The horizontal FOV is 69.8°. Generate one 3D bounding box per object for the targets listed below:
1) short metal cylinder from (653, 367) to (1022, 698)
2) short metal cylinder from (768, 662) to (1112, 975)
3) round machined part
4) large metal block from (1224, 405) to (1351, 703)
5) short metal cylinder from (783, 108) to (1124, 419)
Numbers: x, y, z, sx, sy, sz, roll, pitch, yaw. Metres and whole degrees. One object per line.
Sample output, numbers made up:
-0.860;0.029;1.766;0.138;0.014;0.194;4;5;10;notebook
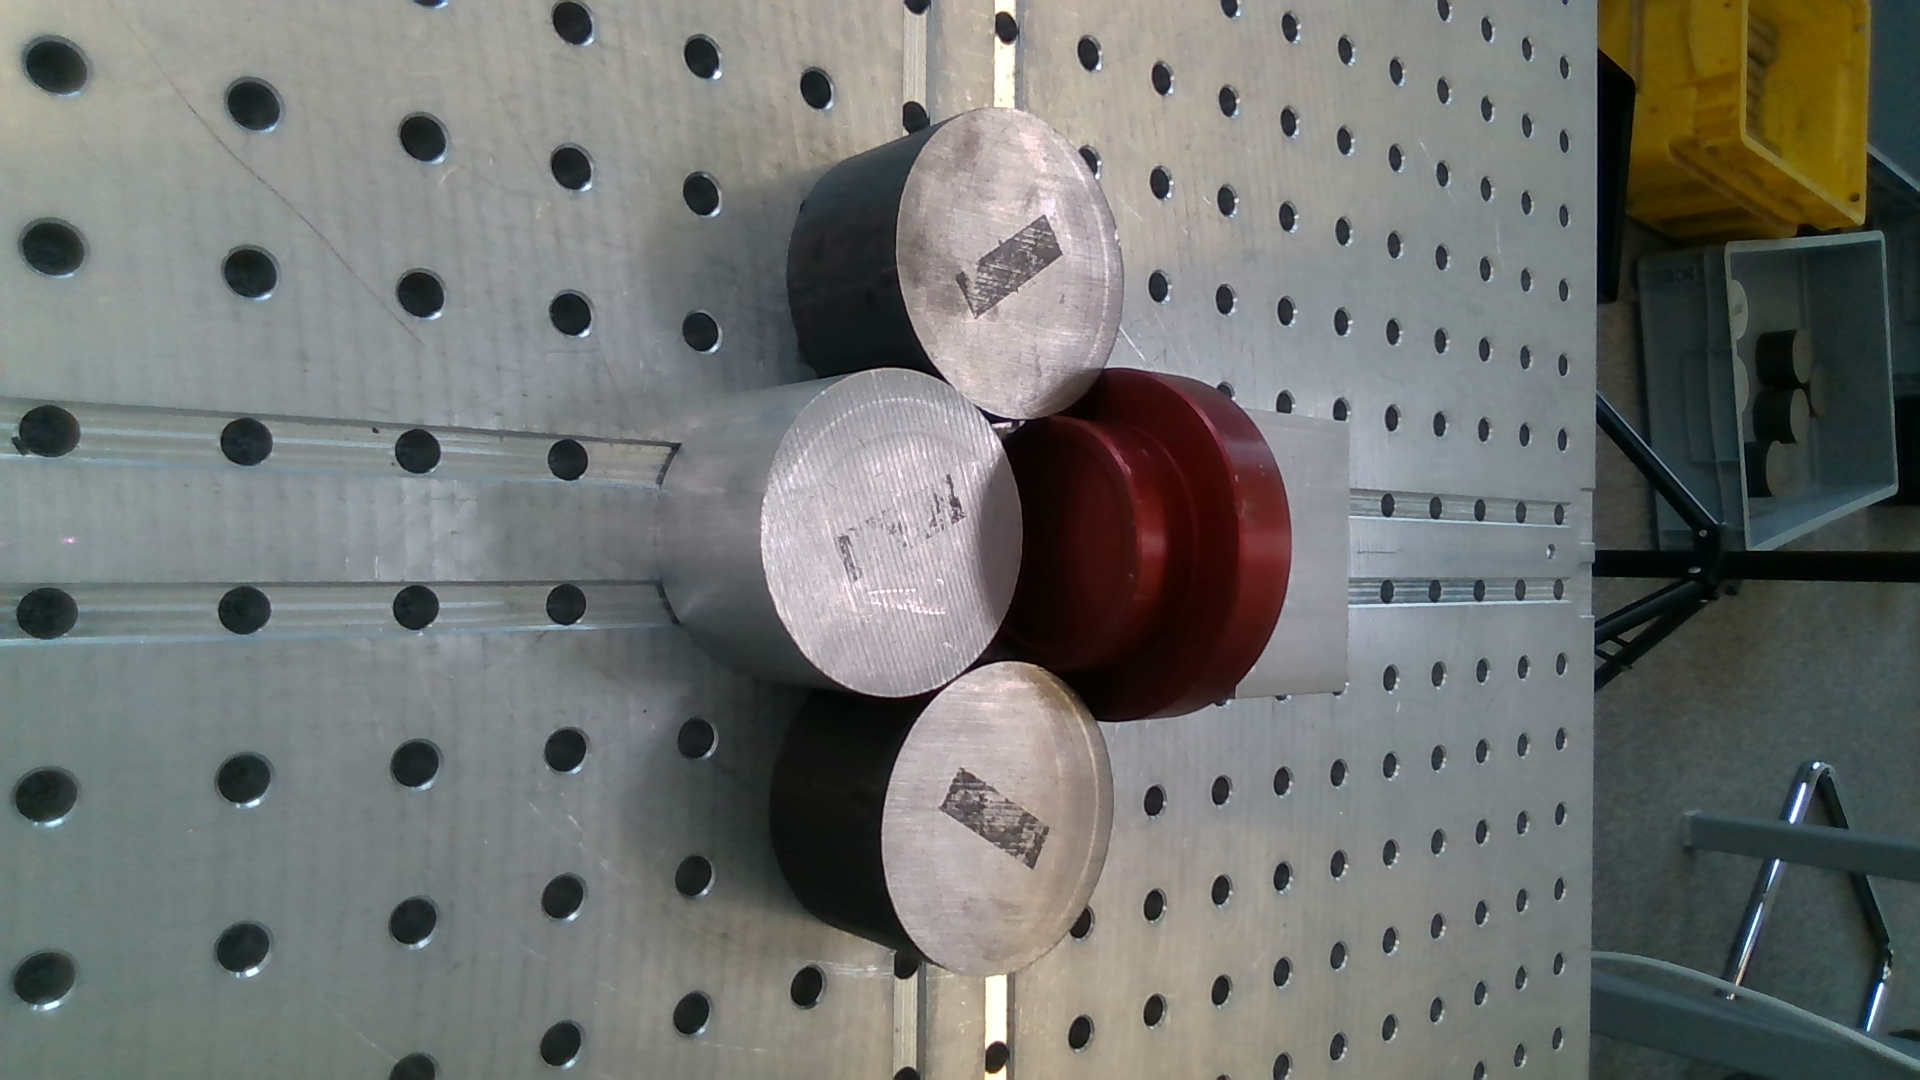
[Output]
-0.030;-0.002;0.353;0.080;0.050;0.080;0;90;-40;short metal cylinder
-0.005;0.072;0.375;0.080;0.050;0.080;0;90;-40;short metal cylinder
0.039;0.001;0.377;0.042;0.098;0.098;2;89;-41;round machined part
0.069;0.004;0.416;0.050;0.080;0.080;1;90;-40;large metal block
-0.001;-0.072;0.377;0.080;0.050;0.080;0;90;-40;short metal cylinder
